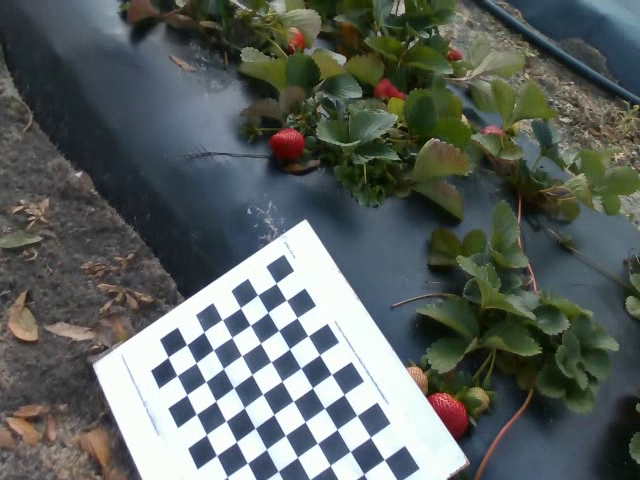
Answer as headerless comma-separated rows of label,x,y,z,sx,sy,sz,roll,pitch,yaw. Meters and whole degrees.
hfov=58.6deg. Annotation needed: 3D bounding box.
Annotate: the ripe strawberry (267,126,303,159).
ripe strawberry,-0.048,-0.133,0.760,0.050,0.049,0.053,48,17,20
